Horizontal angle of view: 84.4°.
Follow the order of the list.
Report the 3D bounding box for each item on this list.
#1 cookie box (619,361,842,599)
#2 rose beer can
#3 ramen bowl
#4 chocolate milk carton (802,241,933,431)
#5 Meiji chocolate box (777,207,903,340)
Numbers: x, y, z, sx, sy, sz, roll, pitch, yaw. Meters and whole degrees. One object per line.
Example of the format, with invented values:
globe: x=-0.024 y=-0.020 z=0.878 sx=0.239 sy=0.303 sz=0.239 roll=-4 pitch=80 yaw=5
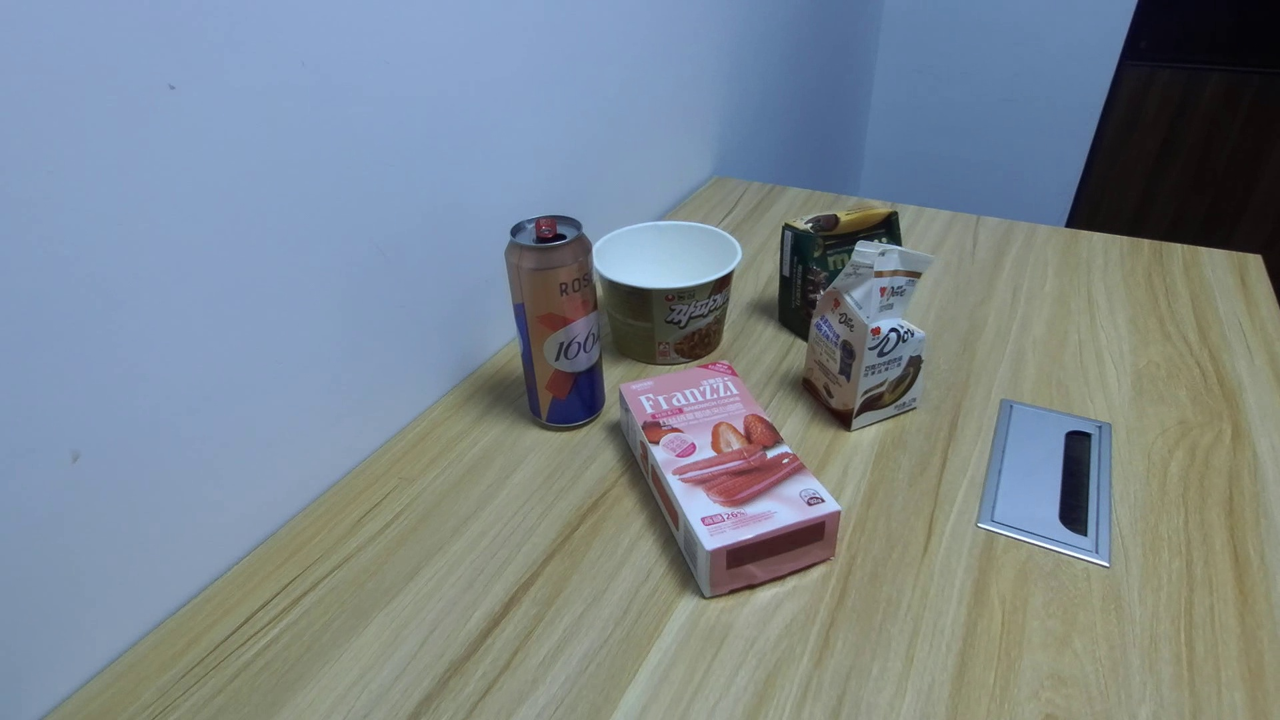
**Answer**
cookie box: x=0.061 y=0.075 z=0.517 sx=0.105 sy=0.049 sz=0.186 roll=-13 pitch=36 yaw=-14
rose beer can: x=-0.066 y=-0.027 z=0.572 sx=0.068 sy=0.169 sz=0.068 roll=-1 pitch=33 yaw=1
ramen bowl: x=0.026 y=-0.063 z=0.684 sx=0.140 sy=0.095 sz=0.140 roll=-1 pitch=34 yaw=1
chocolate milk carton: x=0.187 y=-0.030 z=0.568 sx=0.076 sy=0.156 sz=0.073 roll=-15 pitch=38 yaw=-18
Meiji chocolate box: x=0.198 y=-0.088 z=0.692 sx=0.117 sy=0.117 sz=0.051 roll=-16 pitch=26 yaw=-22
